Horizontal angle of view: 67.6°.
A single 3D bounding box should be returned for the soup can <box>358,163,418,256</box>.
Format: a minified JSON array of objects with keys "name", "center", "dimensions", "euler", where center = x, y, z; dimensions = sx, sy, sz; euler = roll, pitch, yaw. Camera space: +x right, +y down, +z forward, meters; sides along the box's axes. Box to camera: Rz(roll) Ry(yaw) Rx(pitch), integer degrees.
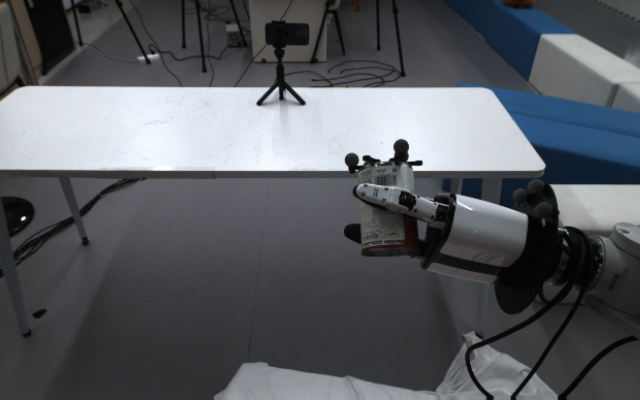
[{"name":"soup can","center":[0.083,0.011,0.569],"dimensions":[0.067,0.067,0.101],"euler":[-2,76,-6]}]
